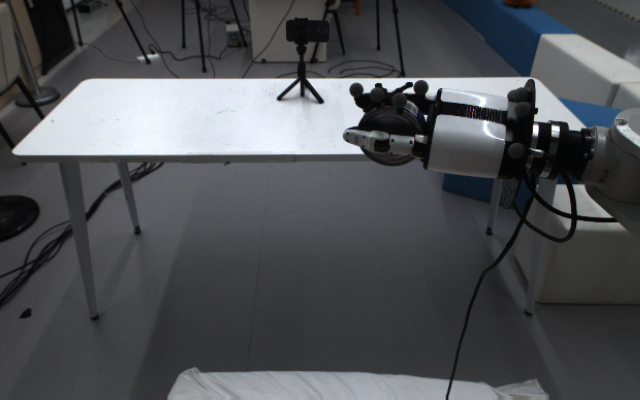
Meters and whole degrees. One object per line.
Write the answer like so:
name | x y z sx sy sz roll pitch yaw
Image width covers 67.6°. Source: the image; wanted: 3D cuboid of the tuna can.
tuna can | 0.094 -0.089 0.625 0.085 0.085 0.034 11 39 13
